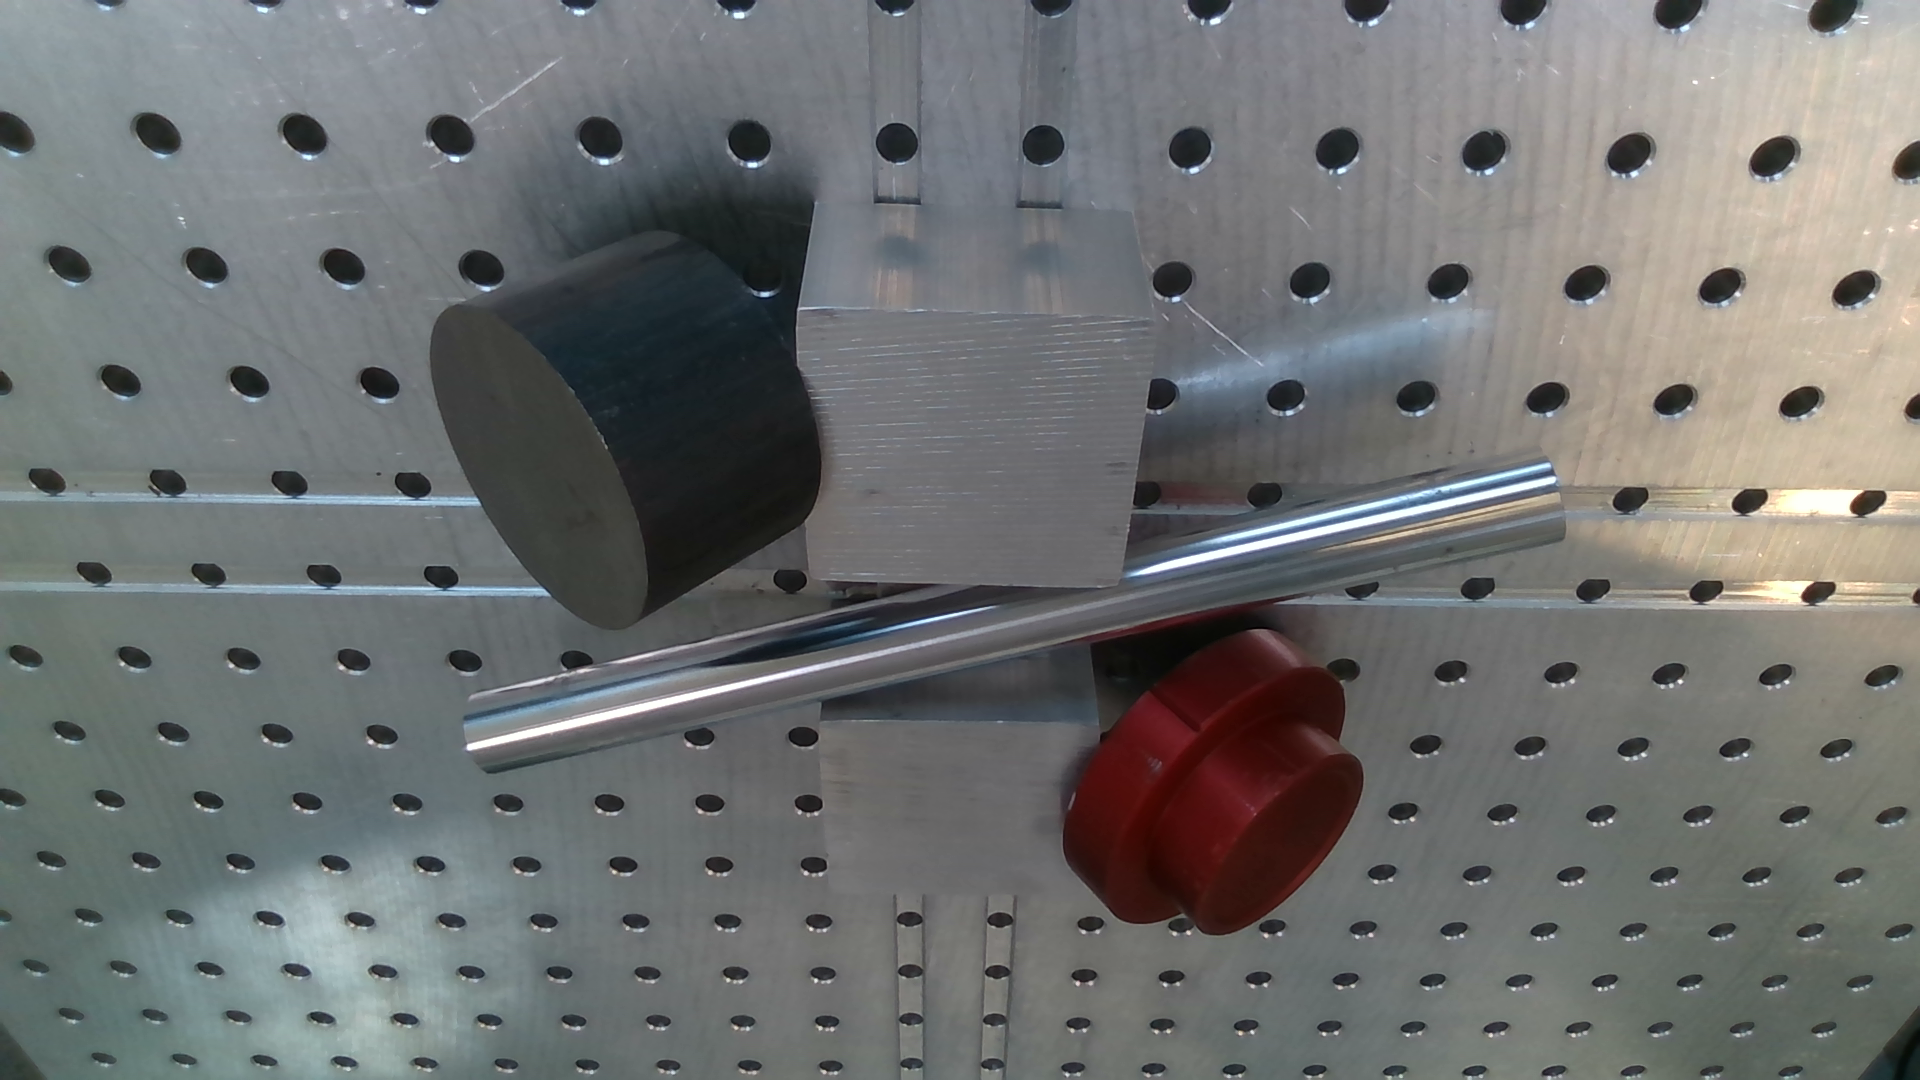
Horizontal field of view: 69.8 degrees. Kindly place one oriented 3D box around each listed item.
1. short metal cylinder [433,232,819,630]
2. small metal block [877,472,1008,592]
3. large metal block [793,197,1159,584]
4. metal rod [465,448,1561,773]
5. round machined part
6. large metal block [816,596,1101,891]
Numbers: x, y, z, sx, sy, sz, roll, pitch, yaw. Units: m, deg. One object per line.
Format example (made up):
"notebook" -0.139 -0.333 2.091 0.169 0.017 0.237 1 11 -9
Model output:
"short metal cylinder" -0.079 -0.026 0.326 0.080 0.050 0.080 30 137 32
"small metal block" 0.002 0.006 0.398 0.050 0.025 0.050 1 130 0
"large metal block" 0.002 -0.036 0.346 0.080 0.050 0.080 2 130 -1
"metal rod" 0.005 0.023 0.377 0.300 0.025 0.025 -13 129 11
"round machined part" 0.081 0.078 0.415 0.098 0.042 0.098 -24 136 -26
"large metal block" -0.001 0.064 0.431 0.080 0.050 0.080 1 130 -1
